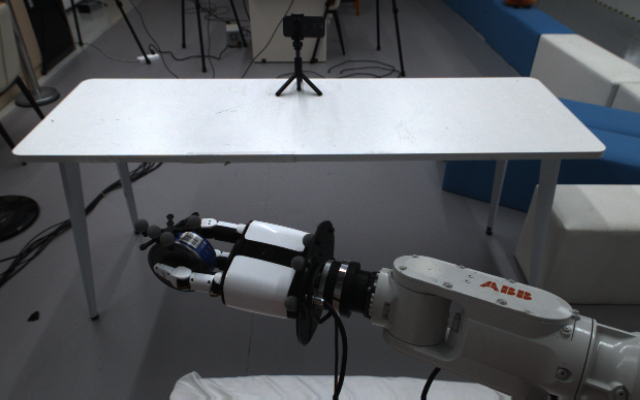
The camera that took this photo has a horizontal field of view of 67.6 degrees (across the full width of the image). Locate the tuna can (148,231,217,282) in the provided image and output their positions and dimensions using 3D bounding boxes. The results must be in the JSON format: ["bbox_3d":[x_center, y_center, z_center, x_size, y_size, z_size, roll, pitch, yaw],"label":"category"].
[{"bbox_3d":[-0.177,0.082,0.649,0.085,0.085,0.034,9,33,10],"label":"tuna can"}]
